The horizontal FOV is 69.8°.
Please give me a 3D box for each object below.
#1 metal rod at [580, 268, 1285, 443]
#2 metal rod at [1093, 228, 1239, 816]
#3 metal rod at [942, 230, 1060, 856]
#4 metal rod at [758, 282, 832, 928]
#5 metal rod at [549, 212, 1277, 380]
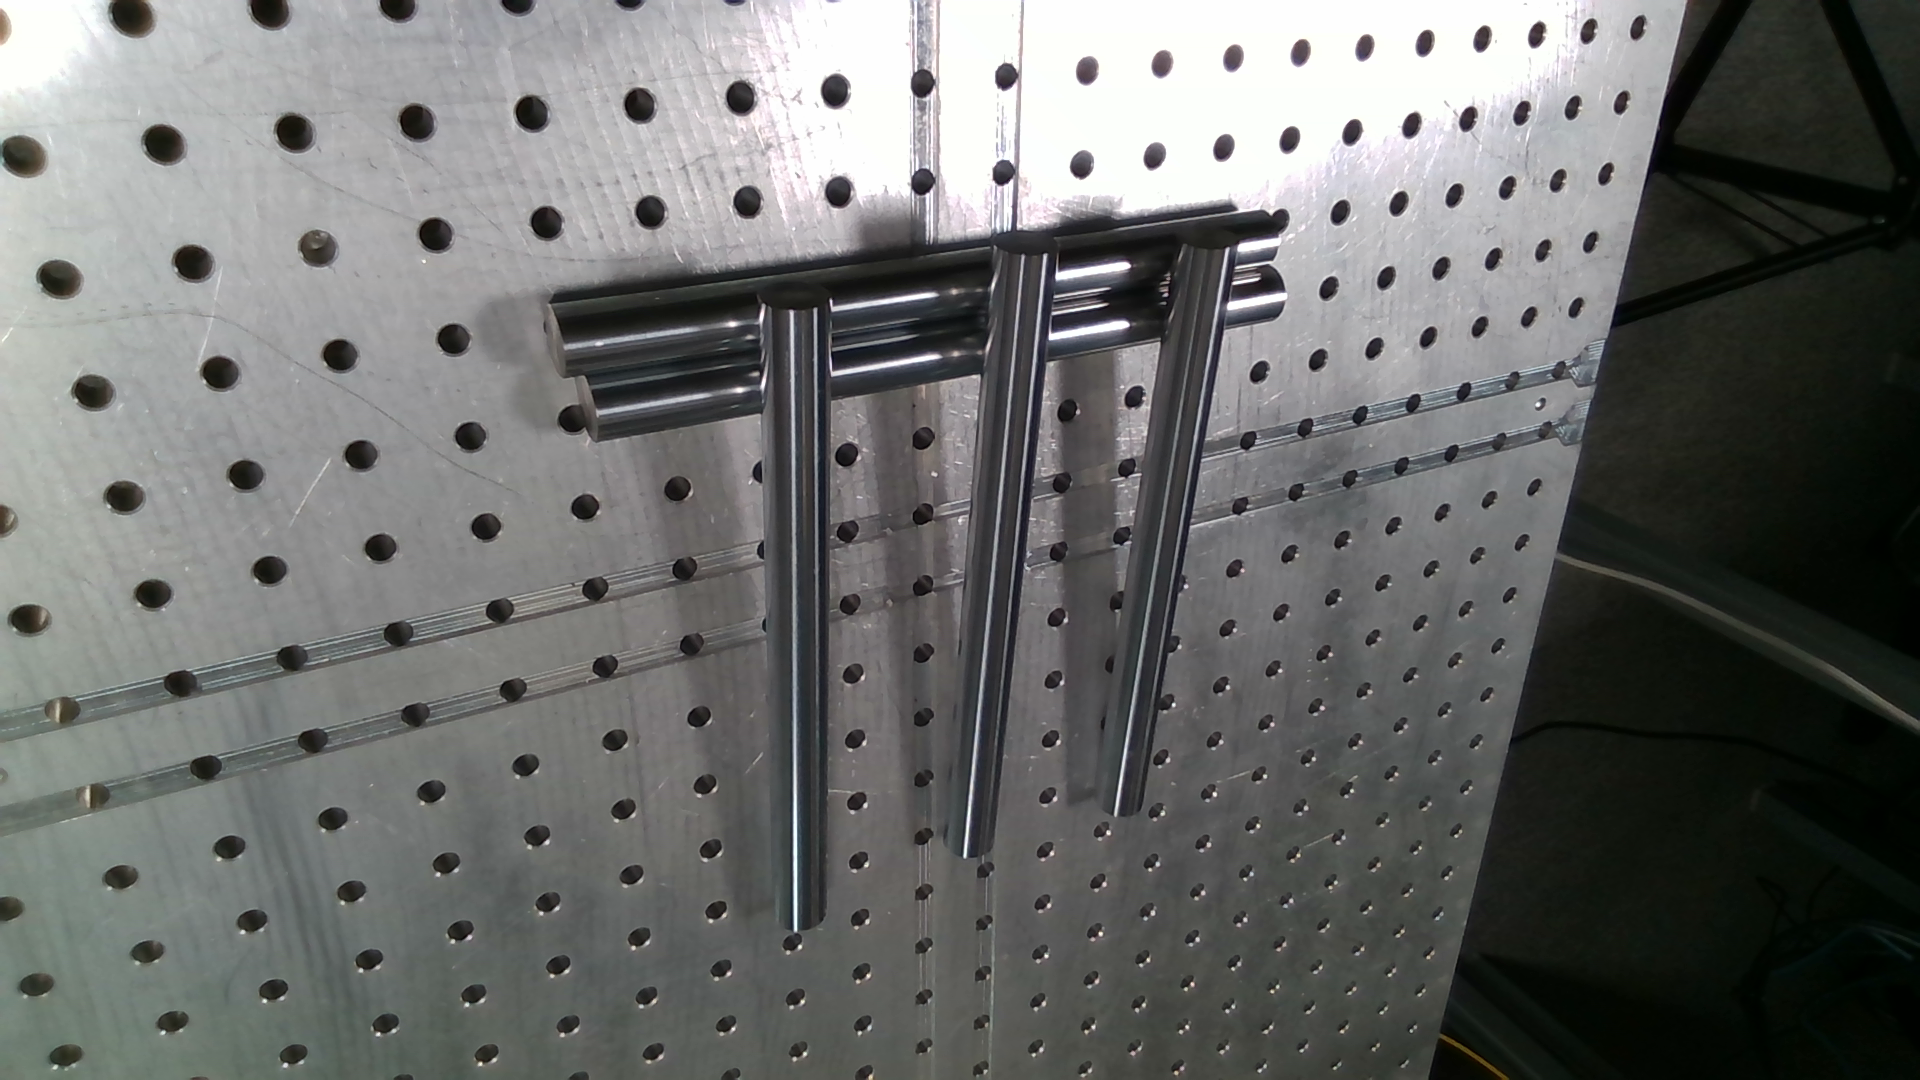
[{"bbox_3d":[0.003,-0.077,0.543,0.300,0.025,0.025,-13,121,-25],"label":"metal rod"},{"bbox_3d":[0.089,0.007,0.623,0.025,0.025,0.301,-14,127,-25],"label":"metal rod"},{"bbox_3d":[0.014,0.018,0.582,0.025,0.025,0.301,-13,127,-25],"label":"metal rod"},{"bbox_3d":[-0.065,0.043,0.549,0.025,0.025,0.301,-14,127,-25],"label":"metal rod"},{"bbox_3d":[-0.004,-0.098,0.528,0.300,0.025,0.025,-13,121,-25],"label":"metal rod"}]
